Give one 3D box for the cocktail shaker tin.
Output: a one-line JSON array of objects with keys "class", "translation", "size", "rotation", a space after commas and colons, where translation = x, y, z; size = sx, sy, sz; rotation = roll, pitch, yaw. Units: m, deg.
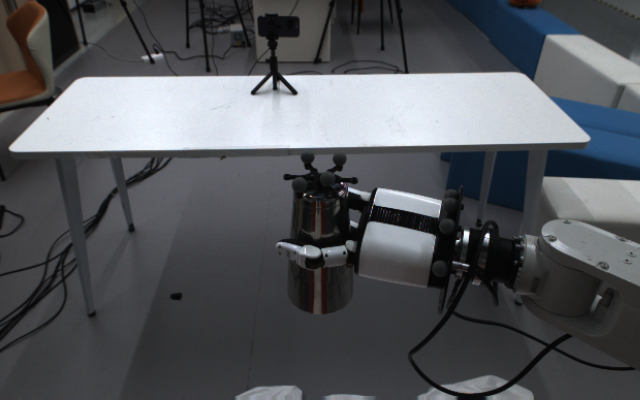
[{"class": "cocktail shaker tin", "translation": [0.003, 0.052, 0.627], "size": [0.093, 0.170, 0.093], "rotation": [0, 33, 0]}]
